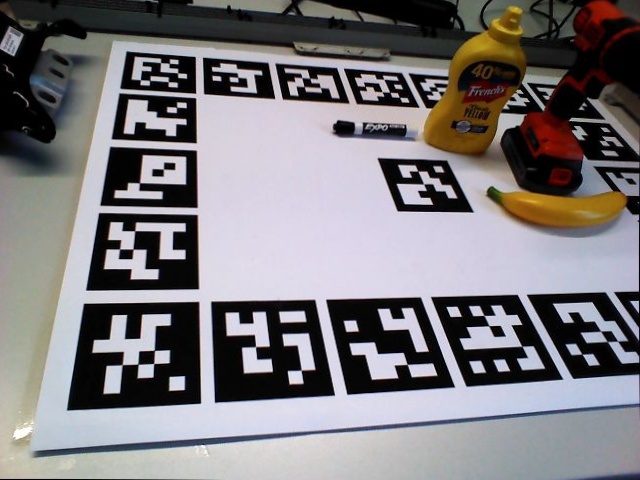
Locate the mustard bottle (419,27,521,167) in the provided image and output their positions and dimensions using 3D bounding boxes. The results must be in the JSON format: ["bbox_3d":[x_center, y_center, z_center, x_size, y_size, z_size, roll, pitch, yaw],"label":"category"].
[{"bbox_3d":[0.206,-0.185,0.681,0.096,0.192,0.058,11,48,-5],"label":"mustard bottle"}]

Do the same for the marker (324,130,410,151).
[{"bbox_3d":[0.066,-0.141,0.727,0.121,0.020,0.019,3,50,-10],"label":"marker"}]

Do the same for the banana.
[{"bbox_3d":[0.302,-0.016,0.662,0.197,0.039,0.074,7,50,-5],"label":"banana"}]

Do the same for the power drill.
[{"bbox_3d":[0.319,-0.144,0.649,0.057,0.188,0.183,13,45,-4],"label":"power drill"}]
